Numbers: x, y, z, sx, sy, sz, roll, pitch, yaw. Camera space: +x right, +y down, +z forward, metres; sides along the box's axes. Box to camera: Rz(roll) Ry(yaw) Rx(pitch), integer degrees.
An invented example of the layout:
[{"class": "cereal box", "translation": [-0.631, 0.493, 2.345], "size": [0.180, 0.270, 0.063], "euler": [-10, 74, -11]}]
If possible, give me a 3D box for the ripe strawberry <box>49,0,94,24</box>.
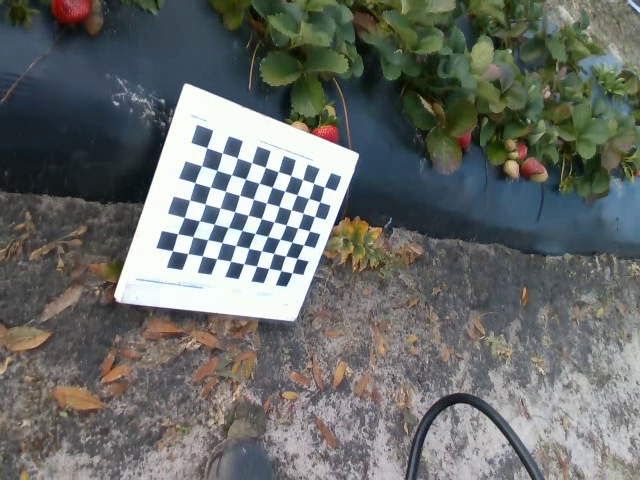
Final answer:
[{"class": "ripe strawberry", "translation": [-0.285, -0.271, 0.702], "size": [0.050, 0.049, 0.053], "euler": [4, 35, -44]}]
